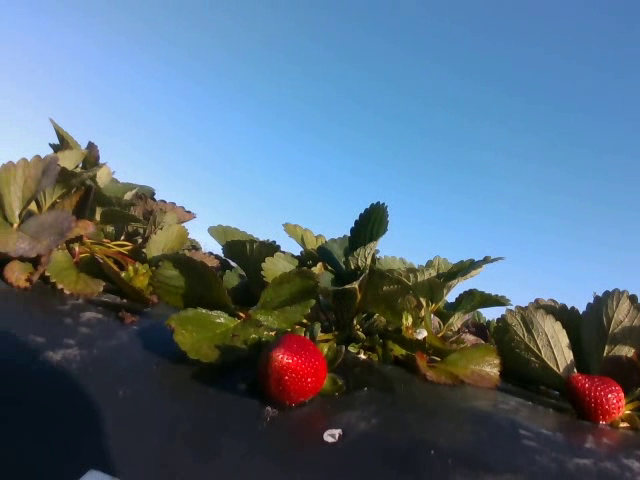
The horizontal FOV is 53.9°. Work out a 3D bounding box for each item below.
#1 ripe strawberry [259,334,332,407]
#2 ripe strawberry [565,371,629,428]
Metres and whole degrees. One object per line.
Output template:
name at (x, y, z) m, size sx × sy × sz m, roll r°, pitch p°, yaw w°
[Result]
ripe strawberry at (-0.016, 0.065, 0.321) m, size 0.045 × 0.042 × 0.055 m, roll 25°, pitch -13°, yaw 17°
ripe strawberry at (0.164, 0.092, 0.376) m, size 0.046 × 0.036 × 0.034 m, roll 27°, pitch 17°, yaw 8°
